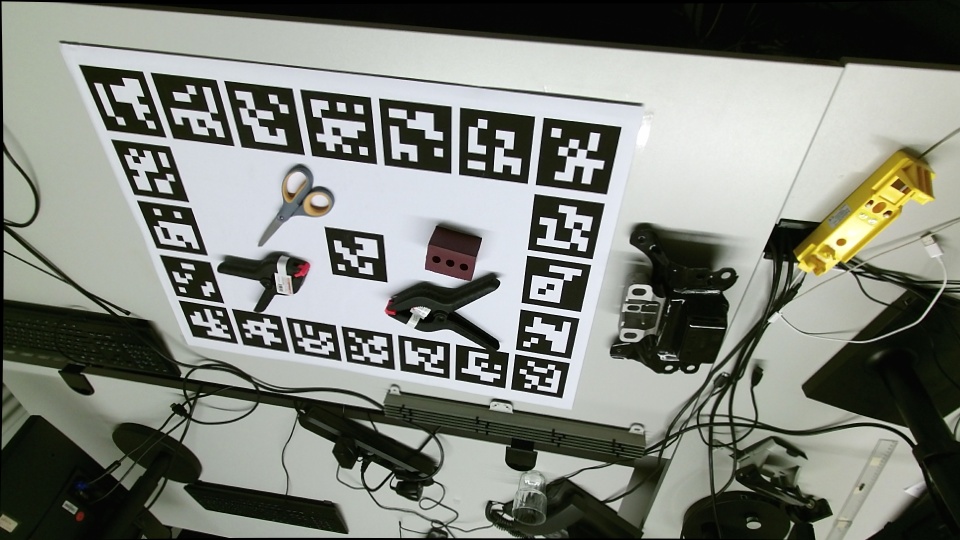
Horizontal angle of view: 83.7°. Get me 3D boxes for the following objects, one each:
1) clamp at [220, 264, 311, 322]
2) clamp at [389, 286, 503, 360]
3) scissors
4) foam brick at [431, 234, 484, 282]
[{"bbox_3d":[-0.381,0.033,0.977,0.165,0.036,0.122,-16,113,21],"label":"clamp"},{"bbox_3d":[-0.059,0.087,0.945,0.203,0.036,0.165,5,129,9],"label":"clamp"},{"bbox_3d":[-0.311,-0.078,0.887,0.088,0.016,0.203,45,123,-11],"label":"scissors"},{"bbox_3d":[-0.036,-0.018,0.859,0.078,0.051,0.053,12,125,-2],"label":"foam brick"}]
